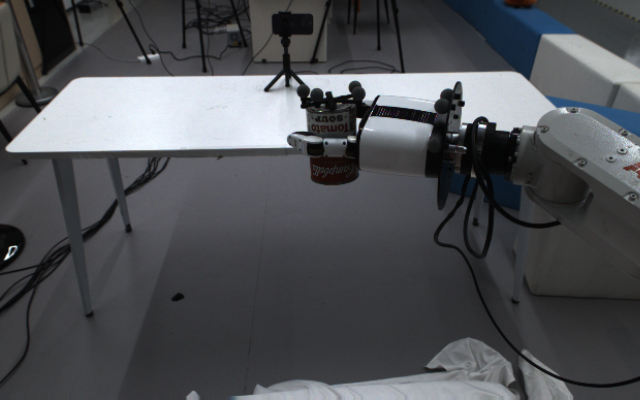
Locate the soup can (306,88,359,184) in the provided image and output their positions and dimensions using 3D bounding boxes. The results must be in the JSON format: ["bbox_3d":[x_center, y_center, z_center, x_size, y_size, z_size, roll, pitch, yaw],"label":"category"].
[{"bbox_3d":[0.018,-0.080,0.651,0.067,0.101,0.067,-4,26,2],"label":"soup can"}]
